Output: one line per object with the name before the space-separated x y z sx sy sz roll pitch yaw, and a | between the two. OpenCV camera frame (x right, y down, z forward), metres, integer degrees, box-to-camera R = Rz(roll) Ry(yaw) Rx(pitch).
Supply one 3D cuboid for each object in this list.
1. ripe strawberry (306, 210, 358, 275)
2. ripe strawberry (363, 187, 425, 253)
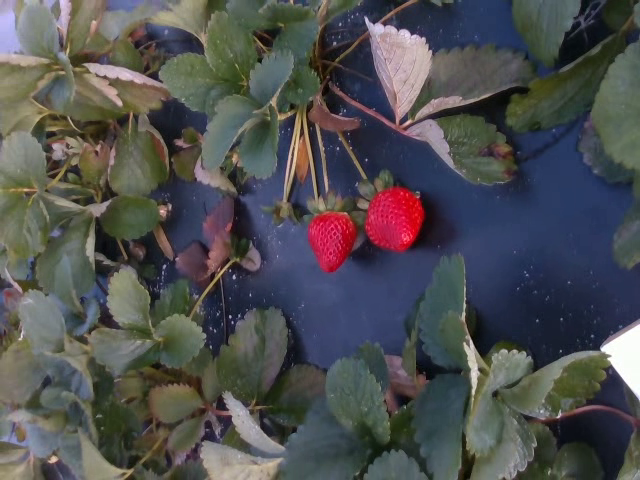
ripe strawberry | 0.009 0.003 0.498 0.048 0.056 0.041 -27 -35 36
ripe strawberry | 0.053 -0.011 0.455 0.051 0.058 0.064 16 24 -25
